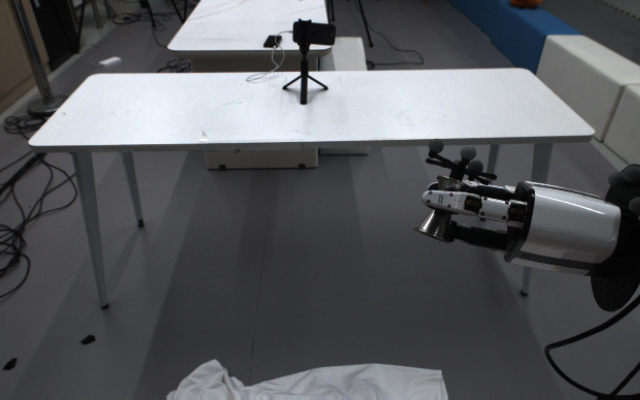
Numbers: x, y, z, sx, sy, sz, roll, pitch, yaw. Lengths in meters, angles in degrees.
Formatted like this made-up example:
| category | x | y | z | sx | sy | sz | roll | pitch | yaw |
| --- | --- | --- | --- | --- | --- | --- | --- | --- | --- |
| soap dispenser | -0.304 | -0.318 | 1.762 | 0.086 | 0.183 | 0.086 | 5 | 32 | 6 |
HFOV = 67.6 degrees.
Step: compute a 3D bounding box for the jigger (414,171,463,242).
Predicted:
| category | x | y | z | sx | sy | sz | roll | pitch | yaw |
| --- | --- | --- | --- | --- | --- | --- | --- | --- | --- |
| jigger | 0.137 | 0.008 | 0.555 | 0.043 | 0.071 | 0.043 | 26 | -3 | 1 |
